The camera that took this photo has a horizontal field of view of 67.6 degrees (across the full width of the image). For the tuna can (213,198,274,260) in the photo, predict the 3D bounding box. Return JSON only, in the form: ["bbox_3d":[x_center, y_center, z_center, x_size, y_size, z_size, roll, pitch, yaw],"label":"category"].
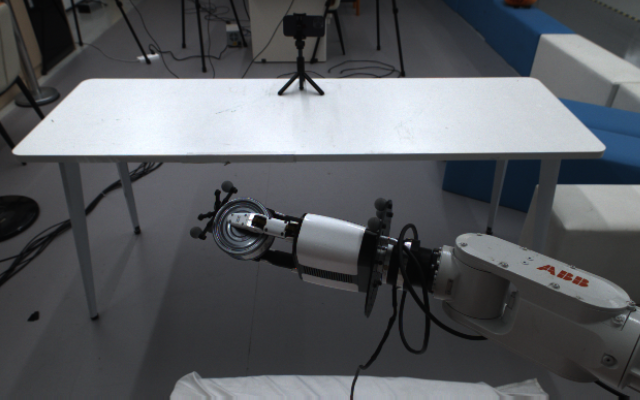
[{"bbox_3d":[-0.104,0.044,0.681,0.085,0.034,0.085,-2,72,6],"label":"tuna can"}]
